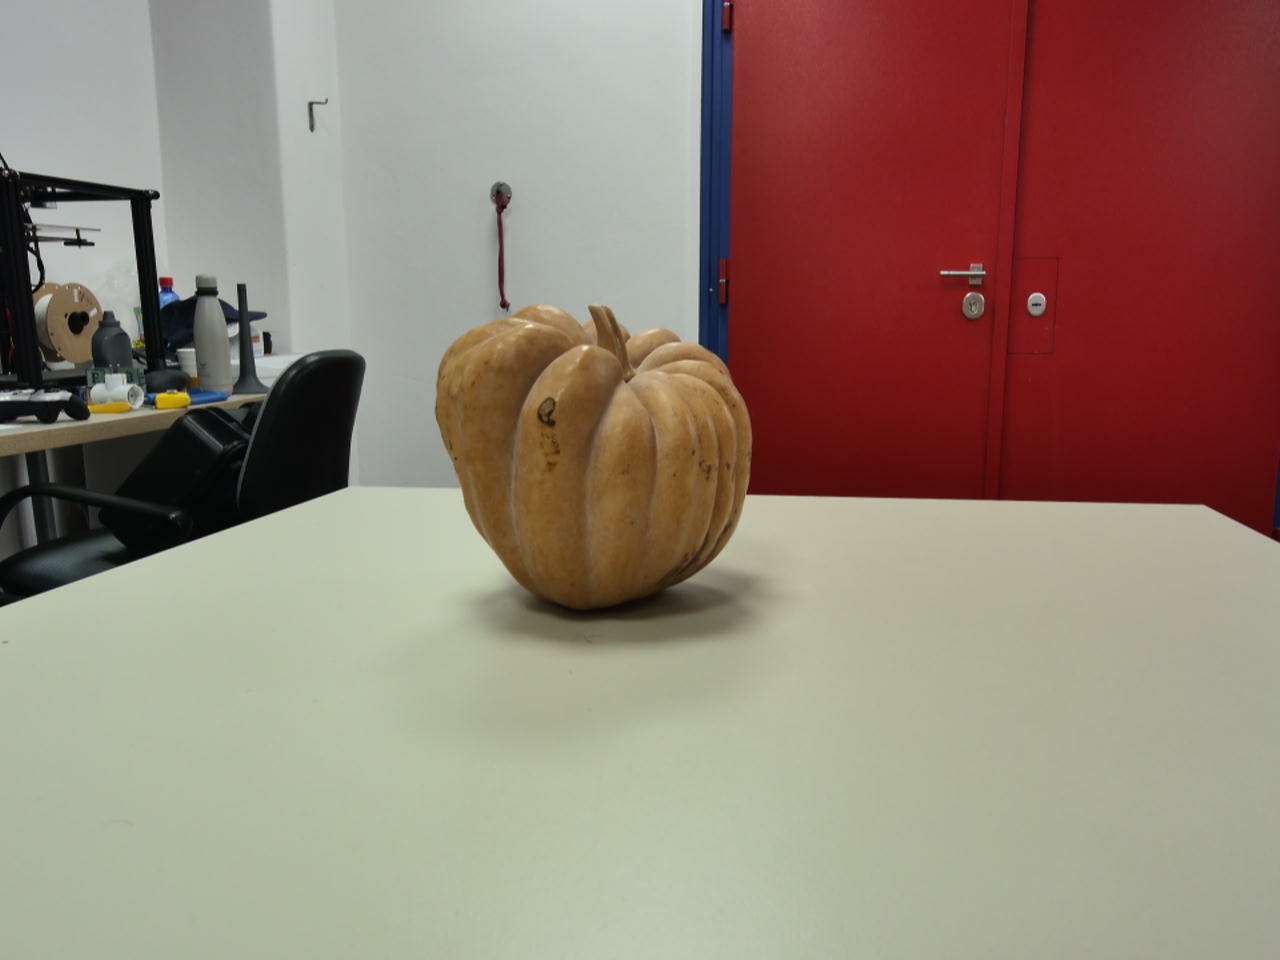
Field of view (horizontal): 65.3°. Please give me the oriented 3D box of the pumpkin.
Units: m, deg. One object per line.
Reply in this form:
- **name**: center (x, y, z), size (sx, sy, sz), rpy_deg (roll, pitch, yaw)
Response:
- **pumpkin**: center (-0.028, -0.016, 0.599), size (0.199, 0.177, 0.198), rpy_deg (0, 7, 0)
